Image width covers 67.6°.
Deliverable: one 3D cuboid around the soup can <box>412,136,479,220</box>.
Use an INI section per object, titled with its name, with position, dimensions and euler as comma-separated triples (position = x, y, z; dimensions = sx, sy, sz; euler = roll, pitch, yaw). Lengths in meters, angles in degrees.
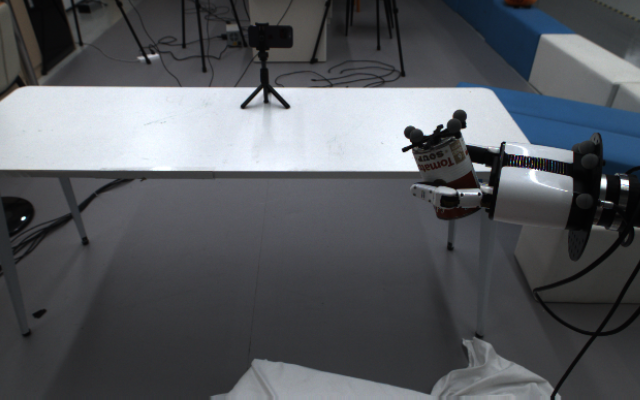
[soup can]
position = 0.171, -0.035, 0.642
dimensions = 0.067, 0.101, 0.067
euler = -23, 16, 7
